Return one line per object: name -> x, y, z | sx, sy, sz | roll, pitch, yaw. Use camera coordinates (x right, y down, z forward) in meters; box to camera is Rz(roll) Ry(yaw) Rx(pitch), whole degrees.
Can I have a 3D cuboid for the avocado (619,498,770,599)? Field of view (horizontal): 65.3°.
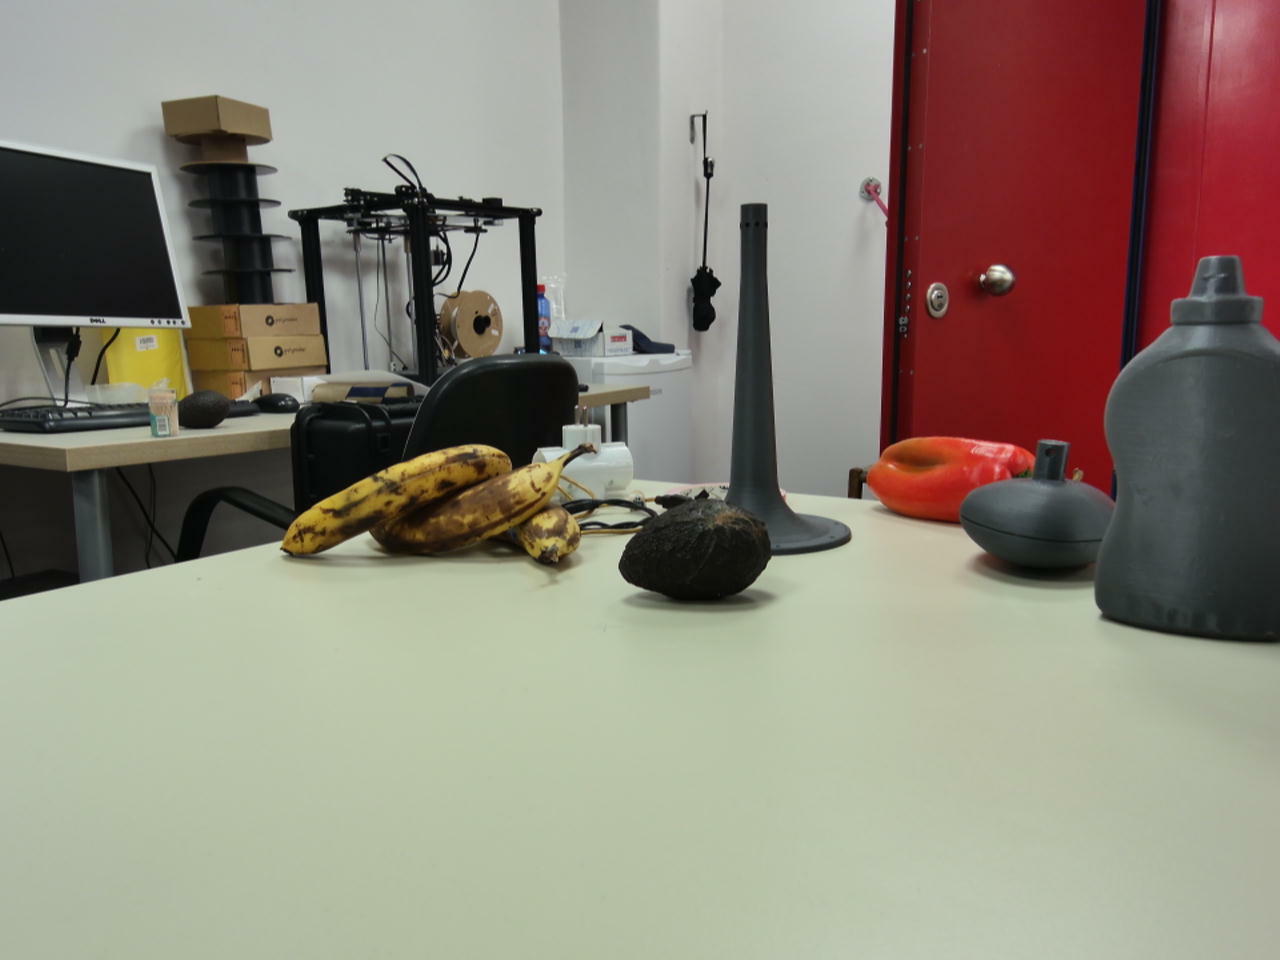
avocado -> 0.034, 0.042, 0.618 | 0.092, 0.062, 0.062 | 3, 7, 11
